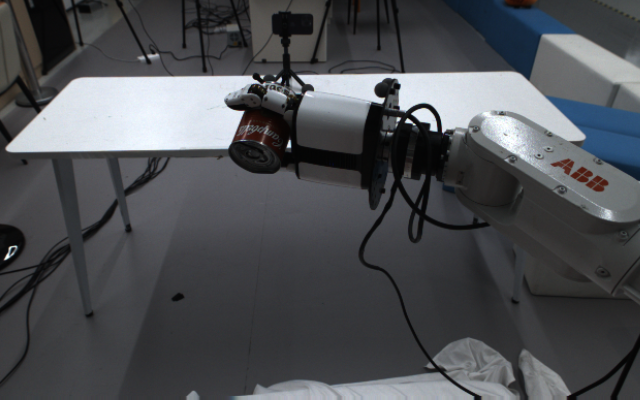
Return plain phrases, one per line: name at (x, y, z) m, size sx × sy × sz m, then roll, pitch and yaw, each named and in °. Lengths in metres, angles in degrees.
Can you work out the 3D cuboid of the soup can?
soup can at (-0.069, -0.093, 0.618) m, size 0.067 × 0.067 × 0.101 m, roll 9°, pitch 59°, yaw 10°
